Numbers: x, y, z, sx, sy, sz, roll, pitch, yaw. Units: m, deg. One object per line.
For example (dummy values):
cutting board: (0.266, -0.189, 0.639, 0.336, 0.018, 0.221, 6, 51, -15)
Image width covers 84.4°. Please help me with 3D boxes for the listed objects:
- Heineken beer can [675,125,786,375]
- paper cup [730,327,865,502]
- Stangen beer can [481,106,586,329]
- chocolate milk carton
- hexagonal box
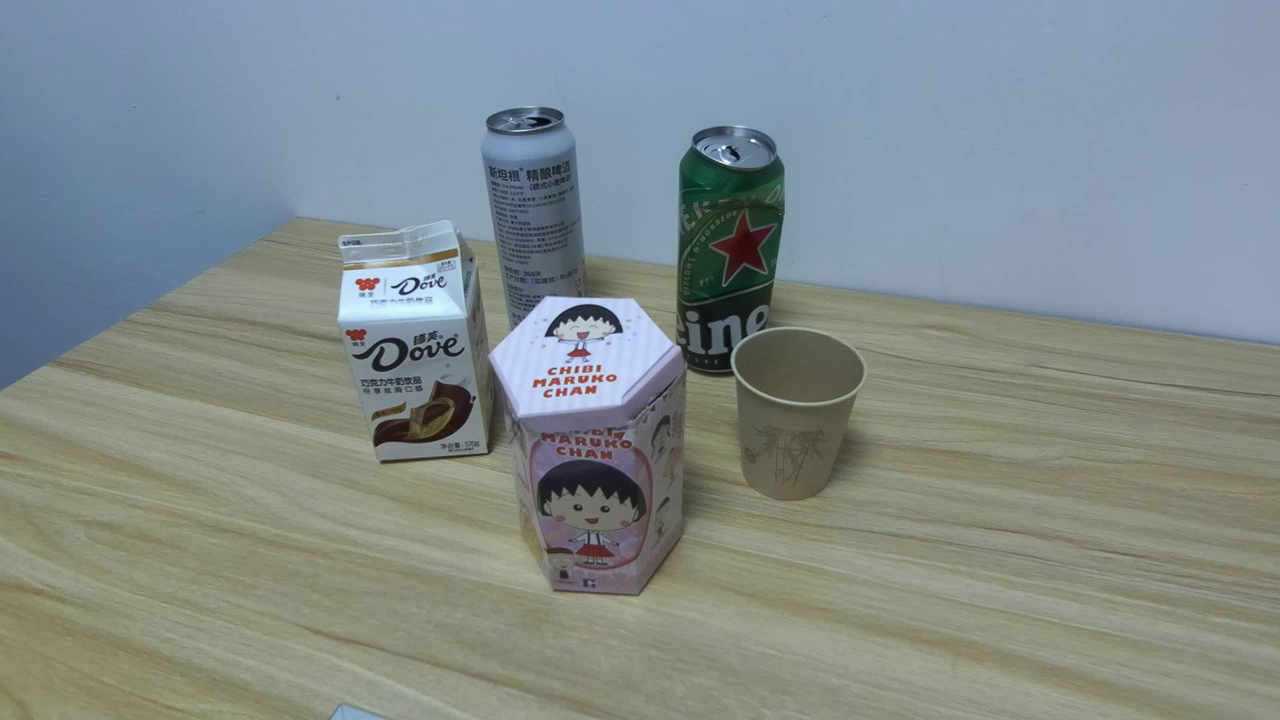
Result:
Heineken beer can: (0.060, -0.070, 0.489, 0.068, 0.168, 0.069, 10, 39, 12)
paper cup: (0.089, 0.035, 0.416, 0.075, 0.082, 0.075, -1, 37, 1)
Stangen beer can: (-0.076, -0.098, 0.536, 0.067, 0.171, 0.067, -1, 35, 1)
chocolate milk carton: (-0.137, -0.017, 0.445, 0.075, 0.148, 0.074, -4, 36, -5)
hexagonal box: (-0.022, 0.045, 0.366, 0.092, 0.135, 0.085, 2, 36, 5)
